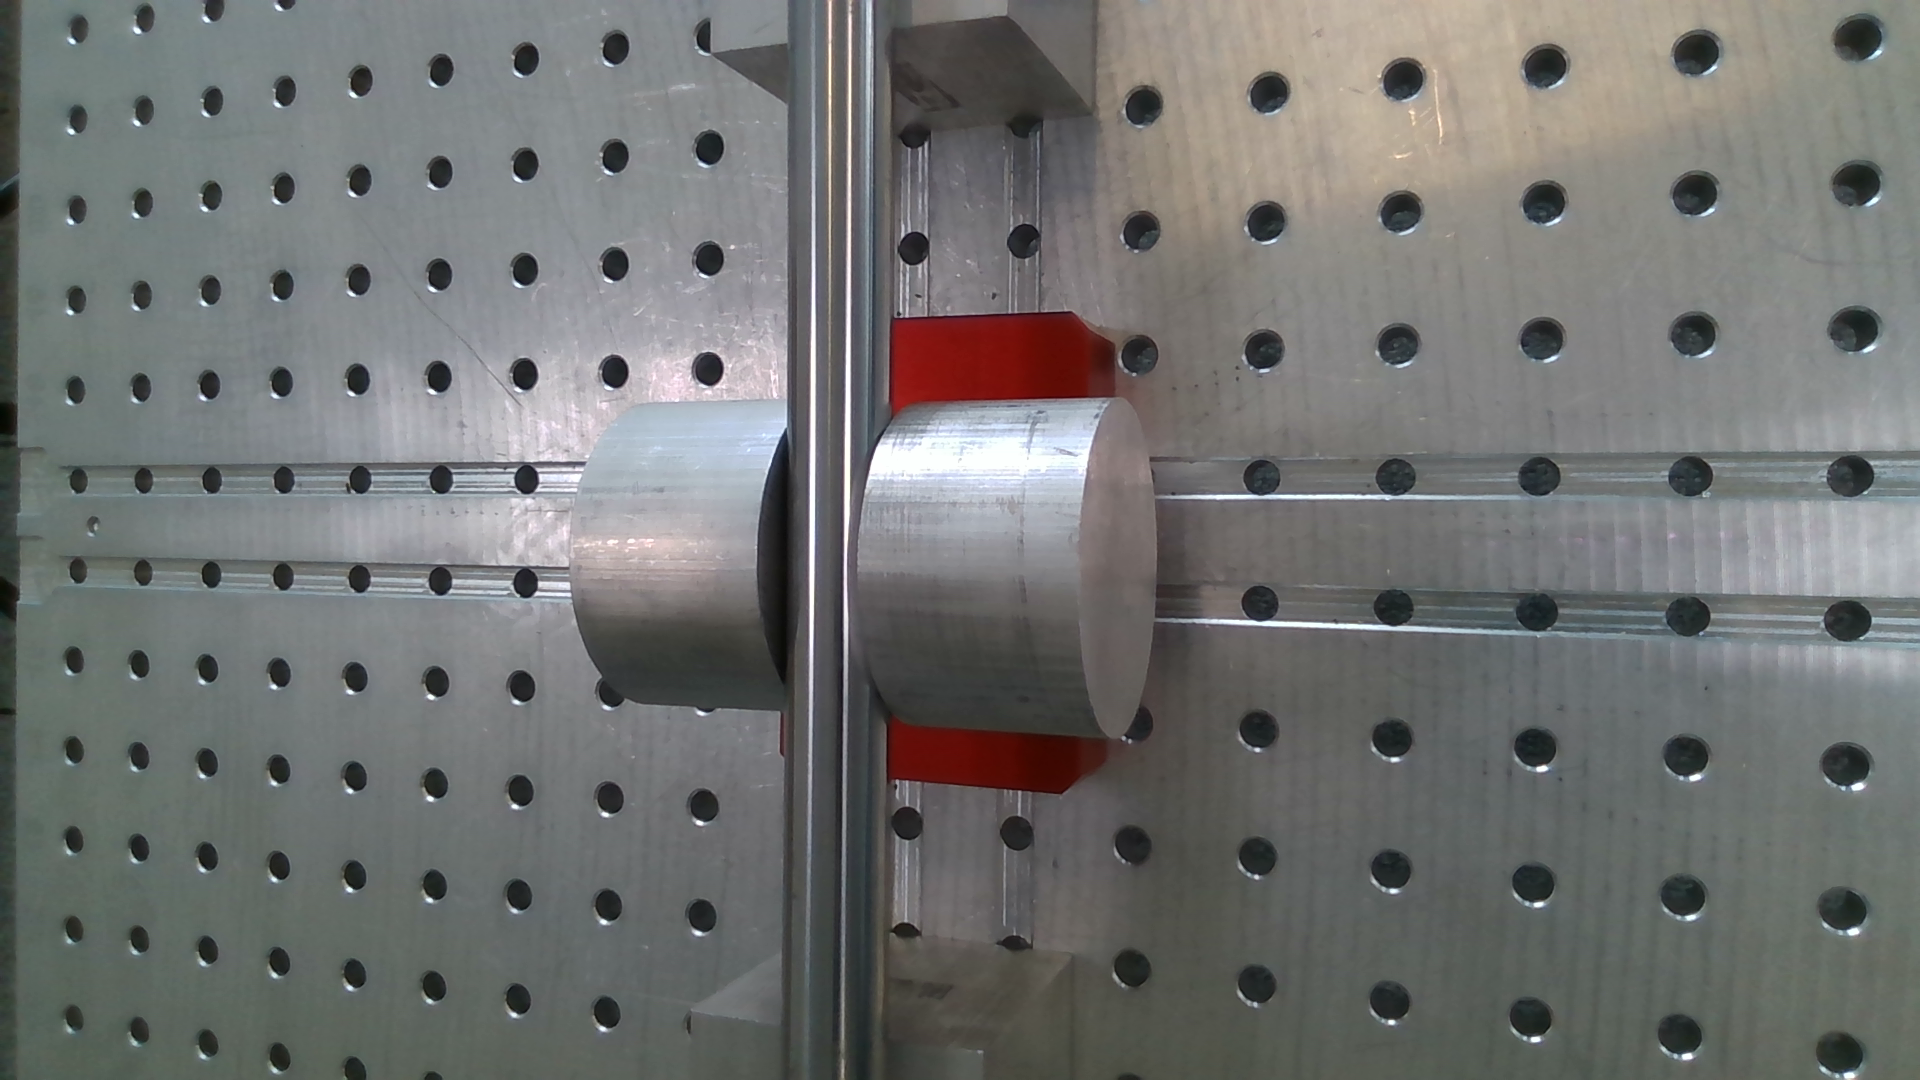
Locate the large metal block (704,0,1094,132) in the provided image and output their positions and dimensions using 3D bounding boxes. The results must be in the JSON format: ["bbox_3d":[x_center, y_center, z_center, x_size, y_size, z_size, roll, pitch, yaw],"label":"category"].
[{"bbox_3d":[-0.013,-0.148,0.370,0.080,0.080,0.050,1,90,20],"label":"large metal block"}]

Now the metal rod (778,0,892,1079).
[{"bbox_3d":[-0.029,-0.003,0.321,0.025,0.025,0.300,1,91,20],"label":"metal rod"}]

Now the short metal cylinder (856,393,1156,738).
[{"bbox_3d":[0.015,0.006,0.330,0.050,0.080,0.080,1,90,20],"label":"short metal cylinder"}]

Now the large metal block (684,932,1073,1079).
[{"bbox_3d":[-0.019,0.144,0.374,0.080,0.080,0.050,1,90,20],"label":"large metal block"}]

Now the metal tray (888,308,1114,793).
[{"bbox_3d":[-0.004,0.002,0.395,0.090,0.030,0.130,1,91,20],"label":"metal tray"}]

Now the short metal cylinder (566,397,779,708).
[{"bbox_3d":[-0.056,0.003,0.356,0.050,0.080,0.080,1,90,20],"label":"short metal cylinder"}]
